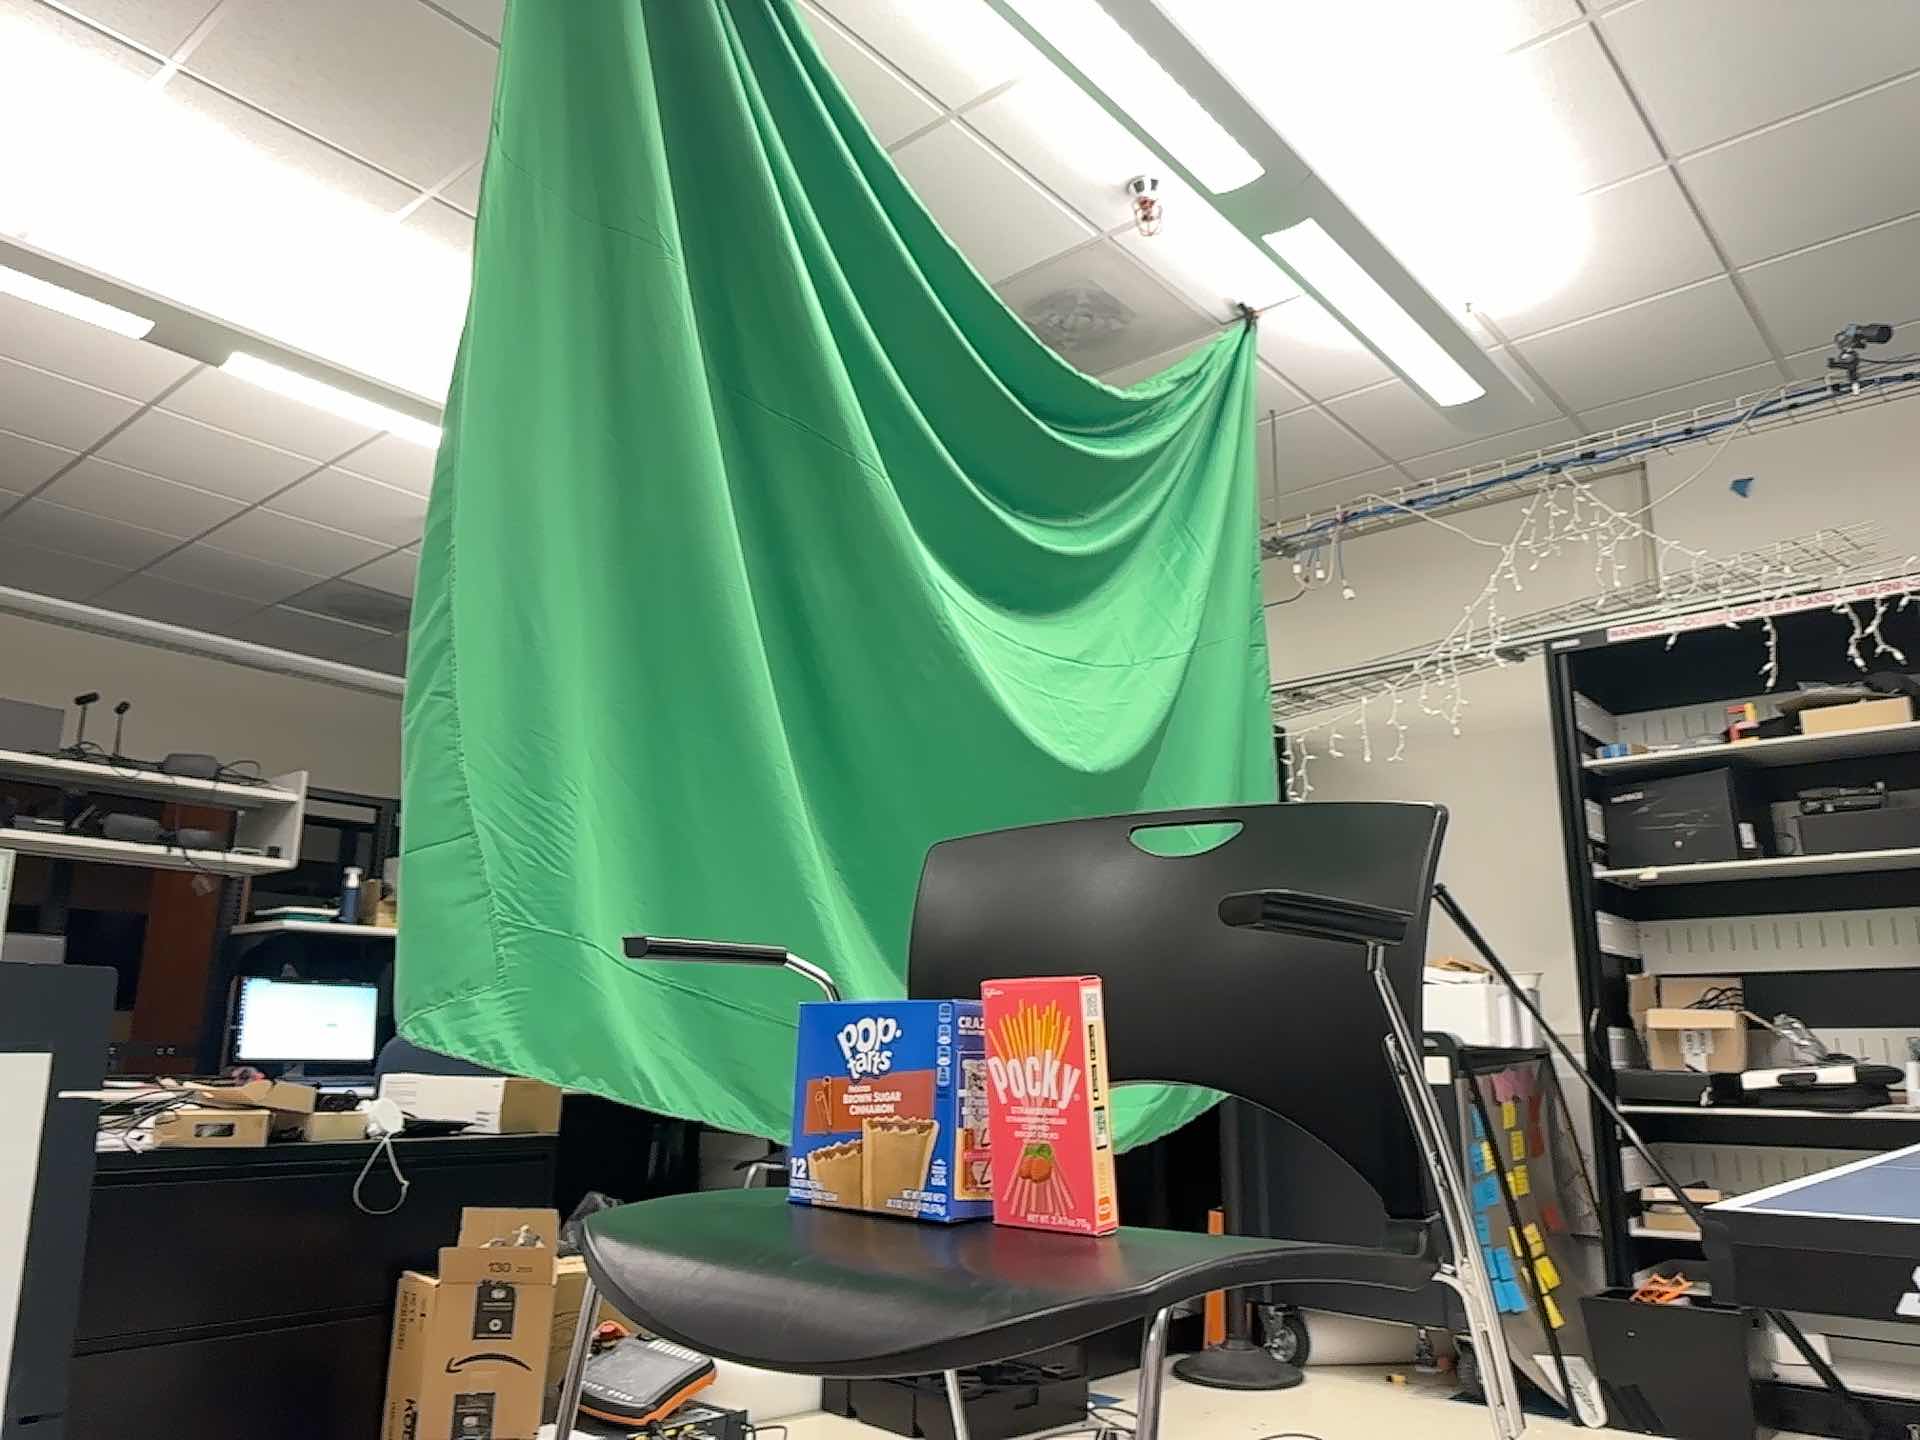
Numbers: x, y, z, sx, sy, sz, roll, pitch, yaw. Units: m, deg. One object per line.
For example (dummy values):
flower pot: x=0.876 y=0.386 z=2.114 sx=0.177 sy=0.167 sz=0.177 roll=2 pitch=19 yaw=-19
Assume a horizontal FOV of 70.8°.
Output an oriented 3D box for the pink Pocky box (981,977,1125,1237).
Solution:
pink Pocky box: x=0.057 y=0.241 z=0.853 sx=0.084 sy=0.155 sz=0.029 roll=-9 pitch=-11 yaw=36

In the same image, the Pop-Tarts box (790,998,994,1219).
Pop-Tarts box: x=-0.034 y=0.270 z=0.960 sx=0.161 sy=0.135 sz=0.075 roll=-9 pitch=-17 yaw=40
